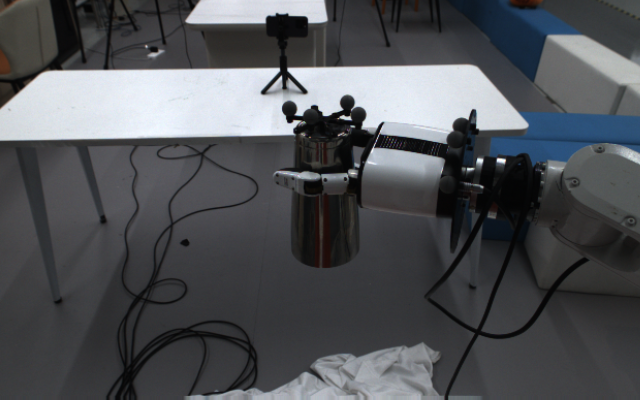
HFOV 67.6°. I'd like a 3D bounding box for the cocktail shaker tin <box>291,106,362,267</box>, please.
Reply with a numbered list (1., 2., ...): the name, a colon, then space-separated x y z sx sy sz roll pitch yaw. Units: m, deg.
1. cocktail shaker tin: 0.009 -0.014 0.601 0.093 0.170 0.093 -1 32 1
